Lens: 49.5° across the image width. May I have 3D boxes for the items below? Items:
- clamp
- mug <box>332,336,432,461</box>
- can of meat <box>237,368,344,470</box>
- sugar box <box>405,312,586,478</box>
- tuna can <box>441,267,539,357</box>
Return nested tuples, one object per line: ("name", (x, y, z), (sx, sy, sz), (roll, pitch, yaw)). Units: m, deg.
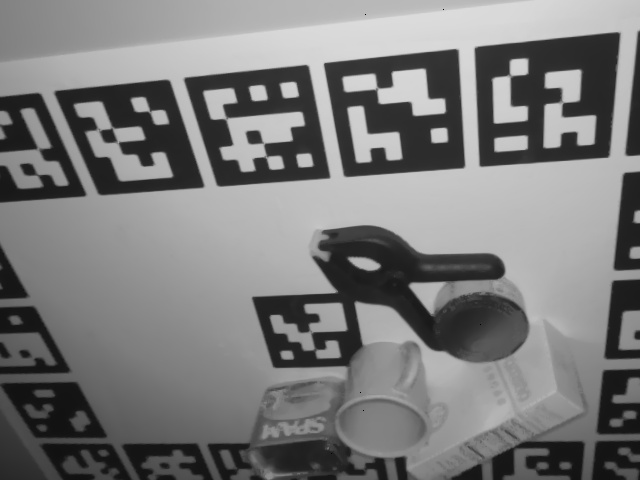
("clamp", (0.071, 0.017, 0.622), (0.165, 0.037, 0.120), (29, 127, -6))
("mug", (0.066, 0.141, 0.666), (0.093, 0.082, 0.115), (19, 122, -3))
("can of meat", (-0.024, 0.183, 0.715), (0.101, 0.085, 0.057), (-9, 122, 16))
("sugar box", (0.159, 0.148, 0.661), (0.045, 0.094, 0.174), (41, 121, -19))
("tuna can", (0.154, 0.063, 0.634), (0.085, 0.034, 0.085), (3, 121, 6))
